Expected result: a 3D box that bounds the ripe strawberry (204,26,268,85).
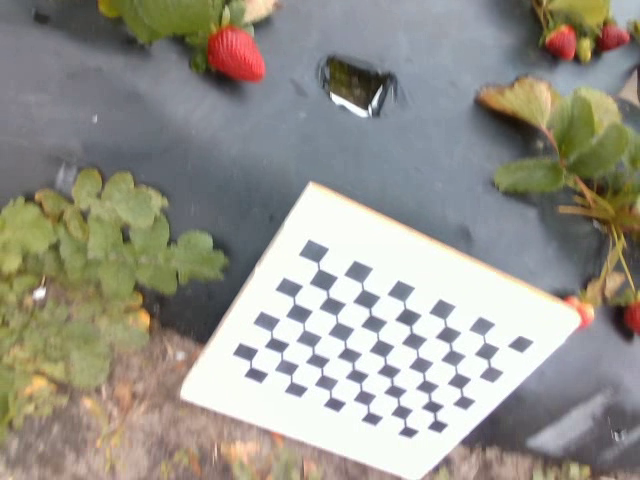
[{"bbox_3d":[-0.076,-0.164,0.471,0.046,0.064,0.048,-47,-11,31],"label":"ripe strawberry"}]
